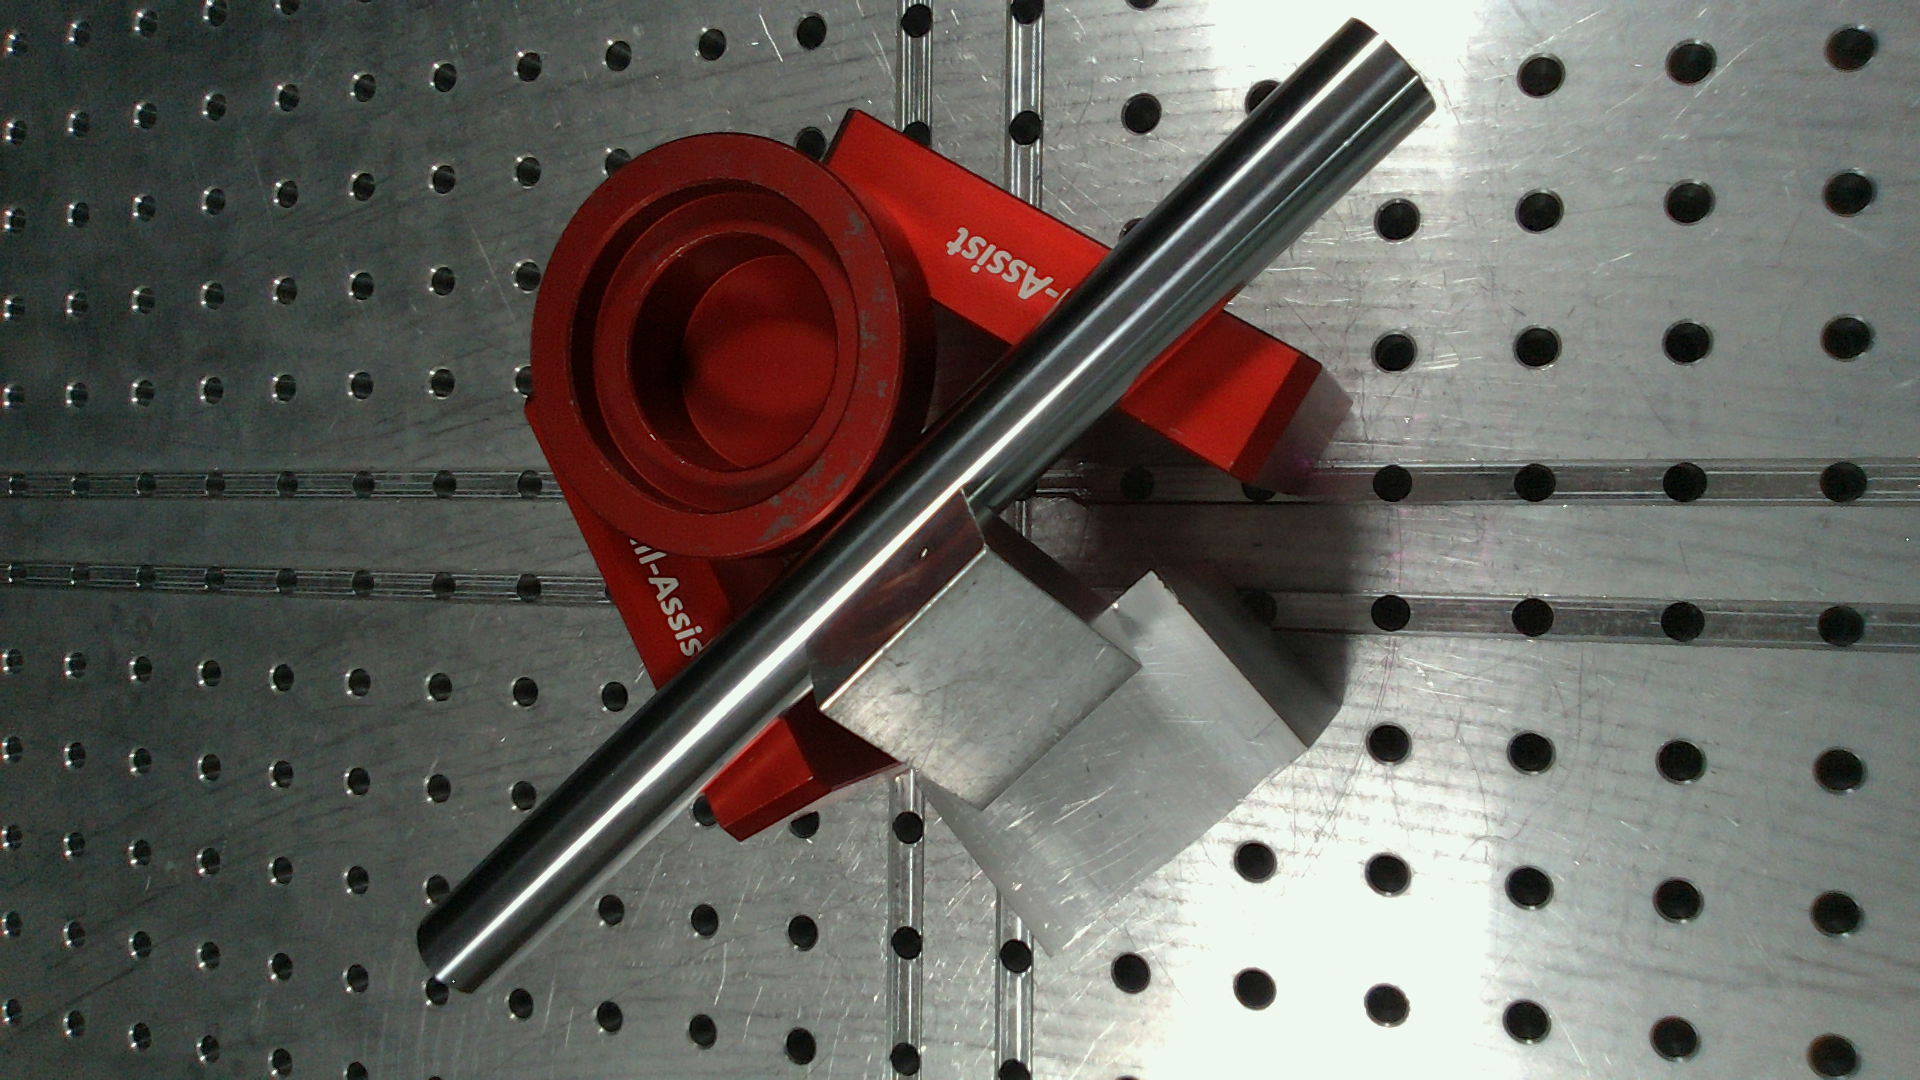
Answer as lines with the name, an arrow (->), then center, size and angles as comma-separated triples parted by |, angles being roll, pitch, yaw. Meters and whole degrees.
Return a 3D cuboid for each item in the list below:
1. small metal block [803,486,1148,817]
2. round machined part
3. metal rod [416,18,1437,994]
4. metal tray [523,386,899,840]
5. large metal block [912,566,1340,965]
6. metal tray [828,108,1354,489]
small metal block -> 0.003, 0.025, 0.297 | 0.050, 0.050, 0.025 | -45, 32, 15
round machined part -> -0.051, -0.045, 0.334 | 0.098, 0.042, 0.098 | 0, 90, 20
metal rod -> -0.021, 0.005, 0.310 | 0.300, 0.025, 0.025 | -43, 77, 15
metal tray -> -0.059, 0.011, 0.385 | 0.030, 0.090, 0.130 | -31, 80, 18
large metal block -> 0.046, 0.052, 0.349 | 0.080, 0.080, 0.050 | -43, 76, 15
metal tray -> 0.033, -0.058, 0.351 | 0.130, 0.090, 0.030 | 33, 102, 17
